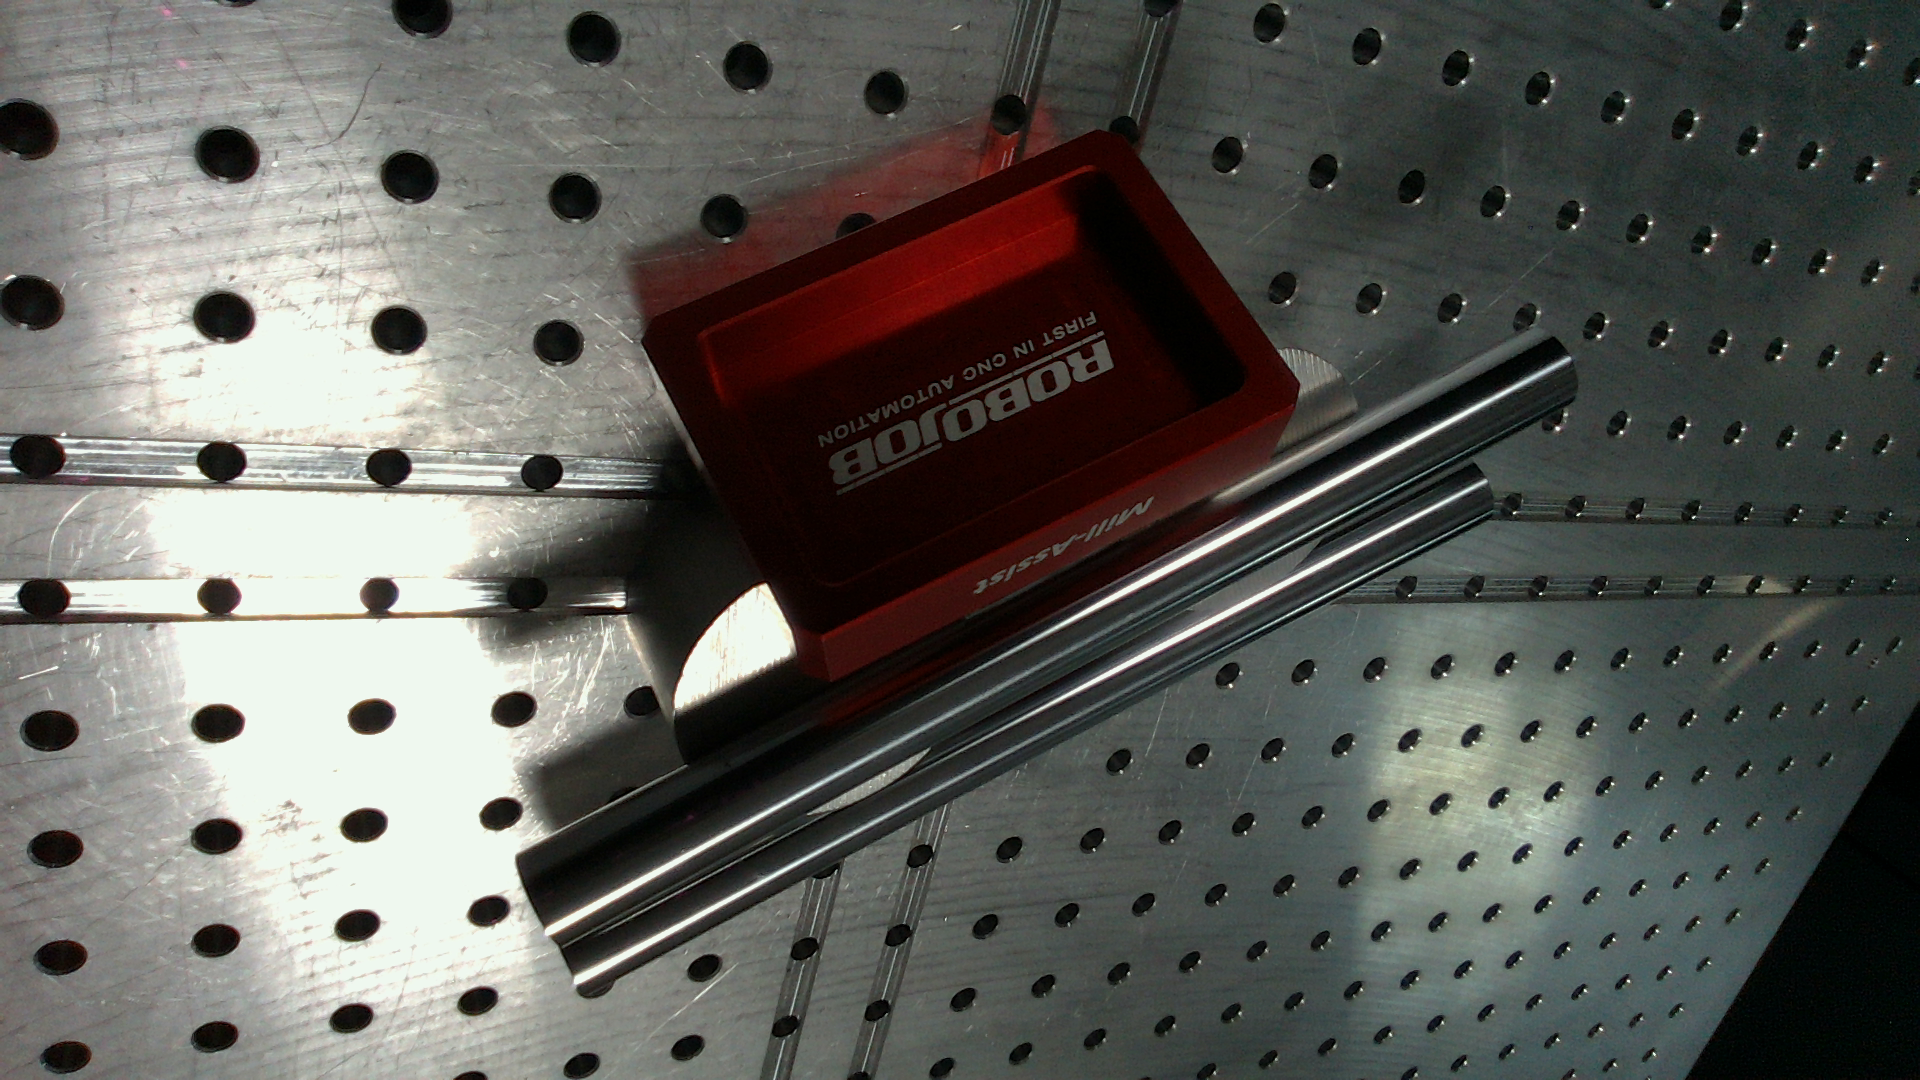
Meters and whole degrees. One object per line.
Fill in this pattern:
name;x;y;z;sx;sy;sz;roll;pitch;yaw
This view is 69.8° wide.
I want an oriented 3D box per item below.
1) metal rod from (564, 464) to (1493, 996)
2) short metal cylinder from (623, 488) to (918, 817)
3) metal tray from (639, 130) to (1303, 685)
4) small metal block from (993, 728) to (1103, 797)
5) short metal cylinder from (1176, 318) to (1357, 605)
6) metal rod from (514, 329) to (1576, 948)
metal rod;0.028;0.047;0.402;0.300;0.025;0.025;-26;128;-12
short metal cylinder;-0.044;0.027;0.369;0.080;0.050;0.080;-14;124;-21
metal tray;0.002;-0.035;0.328;0.130;0.090;0.030;-26;160;-12
small metal block;0.020;0.050;0.432;0.050;0.025;0.050;16;110;-34
short metal cylinder;0.066;-0.028;0.395;0.080;0.050;0.080;-14;124;-21
metal rod;0.032;0.019;0.355;0.300;0.025;0.025;-27;128;-12
